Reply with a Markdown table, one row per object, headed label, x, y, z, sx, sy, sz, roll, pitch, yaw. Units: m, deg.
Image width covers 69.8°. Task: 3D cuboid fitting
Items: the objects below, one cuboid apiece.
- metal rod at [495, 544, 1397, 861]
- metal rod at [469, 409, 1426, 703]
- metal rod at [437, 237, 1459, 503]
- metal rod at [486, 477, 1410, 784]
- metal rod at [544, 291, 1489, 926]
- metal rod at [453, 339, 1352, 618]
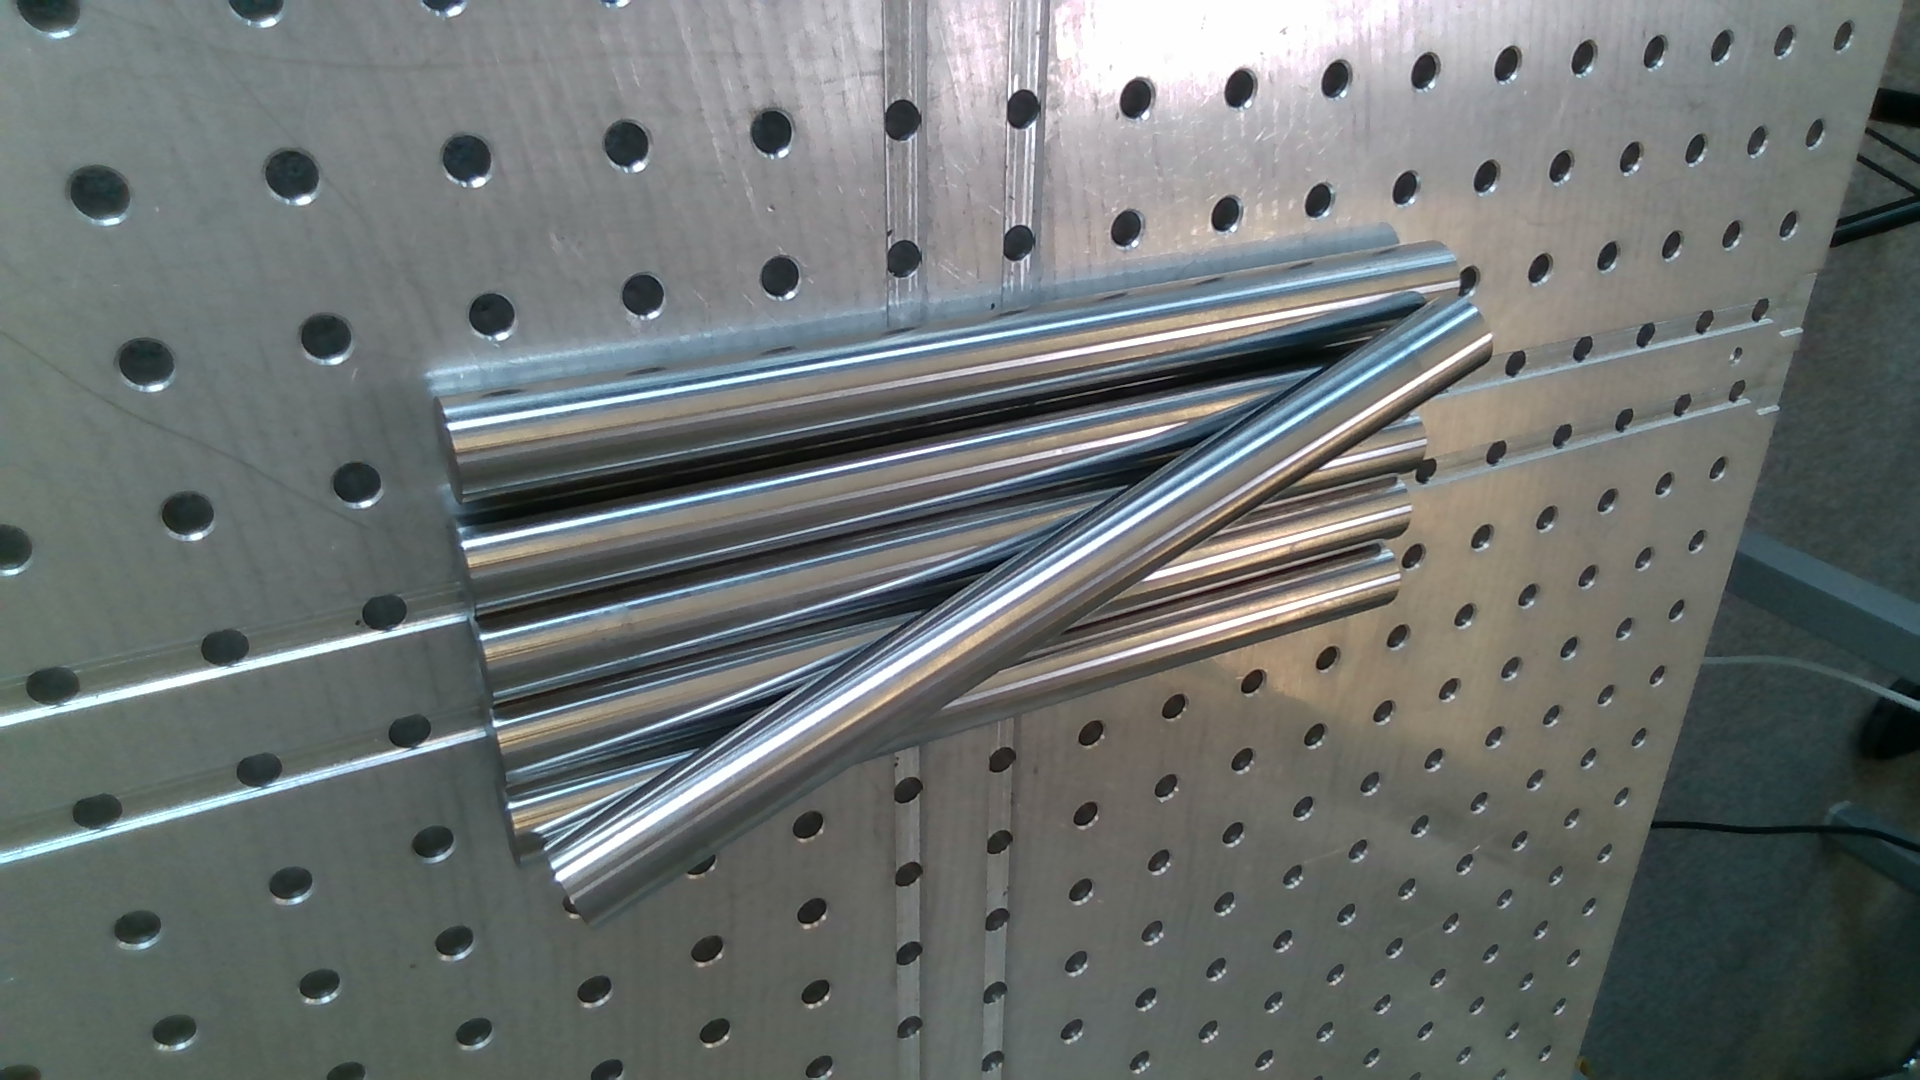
| label | x | y | z | sx | sy | sz | roll | pitch | yaw |
| --- | --- | --- | --- | --- | --- | --- | --- | --- | --- |
| metal rod | 0.014 | 0.041 | 0.423 | 0.300 | 0.025 | 0.025 | -13 | 121 | -25 |
| metal rod | 0.015 | -0.004 | 0.398 | 0.300 | 0.025 | 0.025 | -14 | 121 | -25 |
| metal rod | 0.017 | -0.052 | 0.373 | 0.300 | 0.025 | 0.025 | -13 | 121 | -25 |
| metal rod | 0.014 | 0.018 | 0.411 | 0.300 | 0.025 | 0.025 | -14 | 121 | -25 |
| metal rod | 0.027 | 0.011 | 0.382 | 0.300 | 0.025 | 0.025 | -31 | 127 | -14 |
| metal rod | 0.016 | -0.026 | 0.387 | 0.300 | 0.025 | 0.025 | -14 | 121 | -25 |
